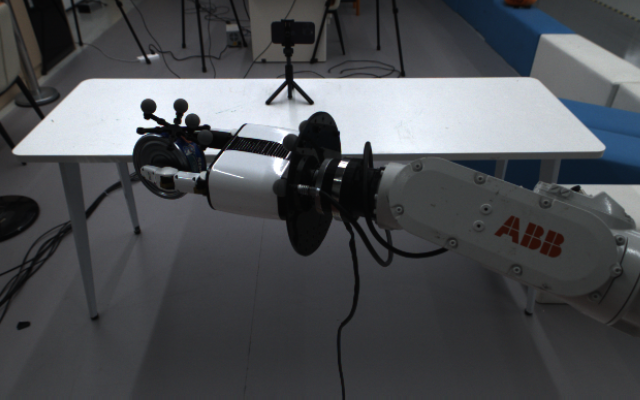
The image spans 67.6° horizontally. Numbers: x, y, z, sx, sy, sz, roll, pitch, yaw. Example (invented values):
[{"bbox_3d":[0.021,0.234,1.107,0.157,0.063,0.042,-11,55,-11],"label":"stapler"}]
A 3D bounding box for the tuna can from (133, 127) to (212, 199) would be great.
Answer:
[{"bbox_3d":[-0.182,-0.044,0.588,0.085,0.085,0.034,15,30,18],"label":"tuna can"}]
